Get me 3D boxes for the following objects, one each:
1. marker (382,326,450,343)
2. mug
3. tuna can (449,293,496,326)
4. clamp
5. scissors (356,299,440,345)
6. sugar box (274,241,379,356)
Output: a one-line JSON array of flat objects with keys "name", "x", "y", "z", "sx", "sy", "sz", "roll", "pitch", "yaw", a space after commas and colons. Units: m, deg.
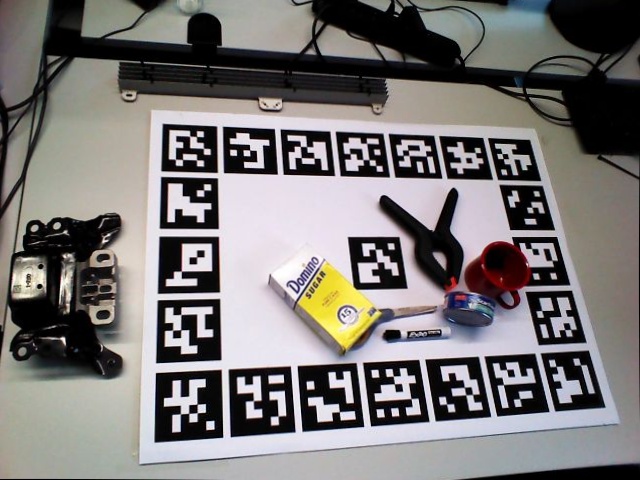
[{"name": "marker", "x": 0.164, "y": 0.162, "z": 0.890, "sx": 0.121, "sy": 0.020, "sz": 0.019, "roll": -3, "pitch": 70, "yaw": -14}, {"name": "mug", "x": 0.321, "y": 0.073, "z": 0.931, "sx": 0.093, "sy": 0.082, "sz": 0.117, "roll": -27, "pitch": 73, "yaw": -22}, {"name": "tuna can", "x": 0.268, "y": 0.120, "z": 0.894, "sx": 0.086, "sy": 0.086, "sz": 0.033, "roll": 17, "pitch": 66, "yaw": -6}, {"name": "clamp", "x": 0.220, "y": -0.002, "z": 0.970, "sx": 0.165, "sy": 0.037, "sz": 0.202, "roll": -9, "pitch": 72, "yaw": -17}, {"name": "scissors", "x": 0.117, "y": 0.123, "z": 0.892, "sx": 0.202, "sy": 0.016, "sz": 0.087, "roll": -9, "pitch": 67, "yaw": -18}, {"name": "sugar box", "x": 0.015, "y": 0.094, "z": 0.862, "sx": 0.092, "sy": 0.045, "sz": 0.176, "roll": -37, "pitch": 75, "yaw": -23}]
